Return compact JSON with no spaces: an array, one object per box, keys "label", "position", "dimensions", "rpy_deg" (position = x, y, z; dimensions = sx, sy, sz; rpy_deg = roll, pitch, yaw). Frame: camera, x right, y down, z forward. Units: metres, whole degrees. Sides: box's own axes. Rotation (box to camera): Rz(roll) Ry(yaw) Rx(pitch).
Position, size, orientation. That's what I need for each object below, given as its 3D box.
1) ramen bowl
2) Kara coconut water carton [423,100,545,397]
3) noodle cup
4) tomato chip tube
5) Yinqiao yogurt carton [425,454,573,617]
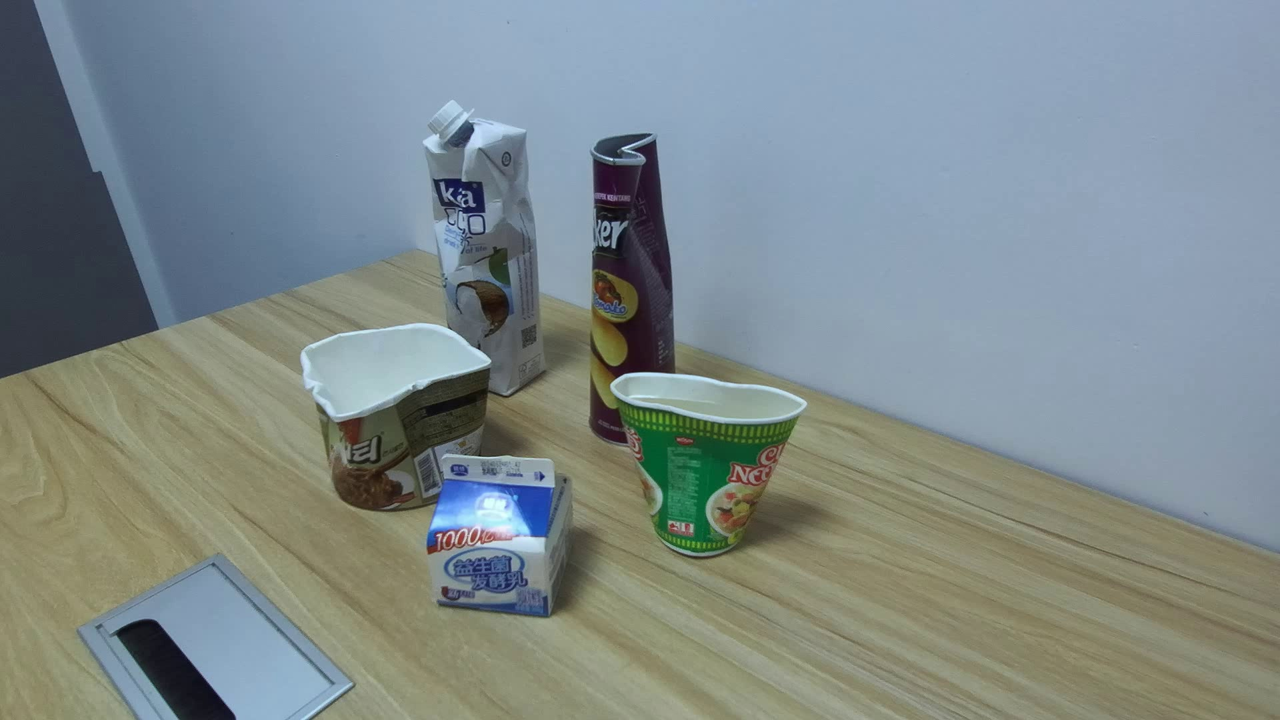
[{"label":"ramen bowl","position":[-0.192,0.037,0.542],"dimensions":[0.133,0.097,0.114],"rpy_deg":[25,39,35]},{"label":"Kara coconut water carton","position":[-0.137,-0.097,0.622],"dimensions":[0.083,0.256,0.079],"rpy_deg":[26,40,36]},{"label":"noodle cup","position":[0.040,0.066,0.471],"dimensions":[0.114,0.111,0.070],"rpy_deg":[19,36,31]},{"label":"tomato chip tube","position":[-0.004,-0.049,0.557],"dimensions":[0.078,0.235,0.076],"rpy_deg":[-14,31,-26]},{"label":"Yinqiao yogurt carton","position":[-0.086,0.097,0.440],"dimensions":[0.075,0.092,0.074],"rpy_deg":[3,30,6]}]
